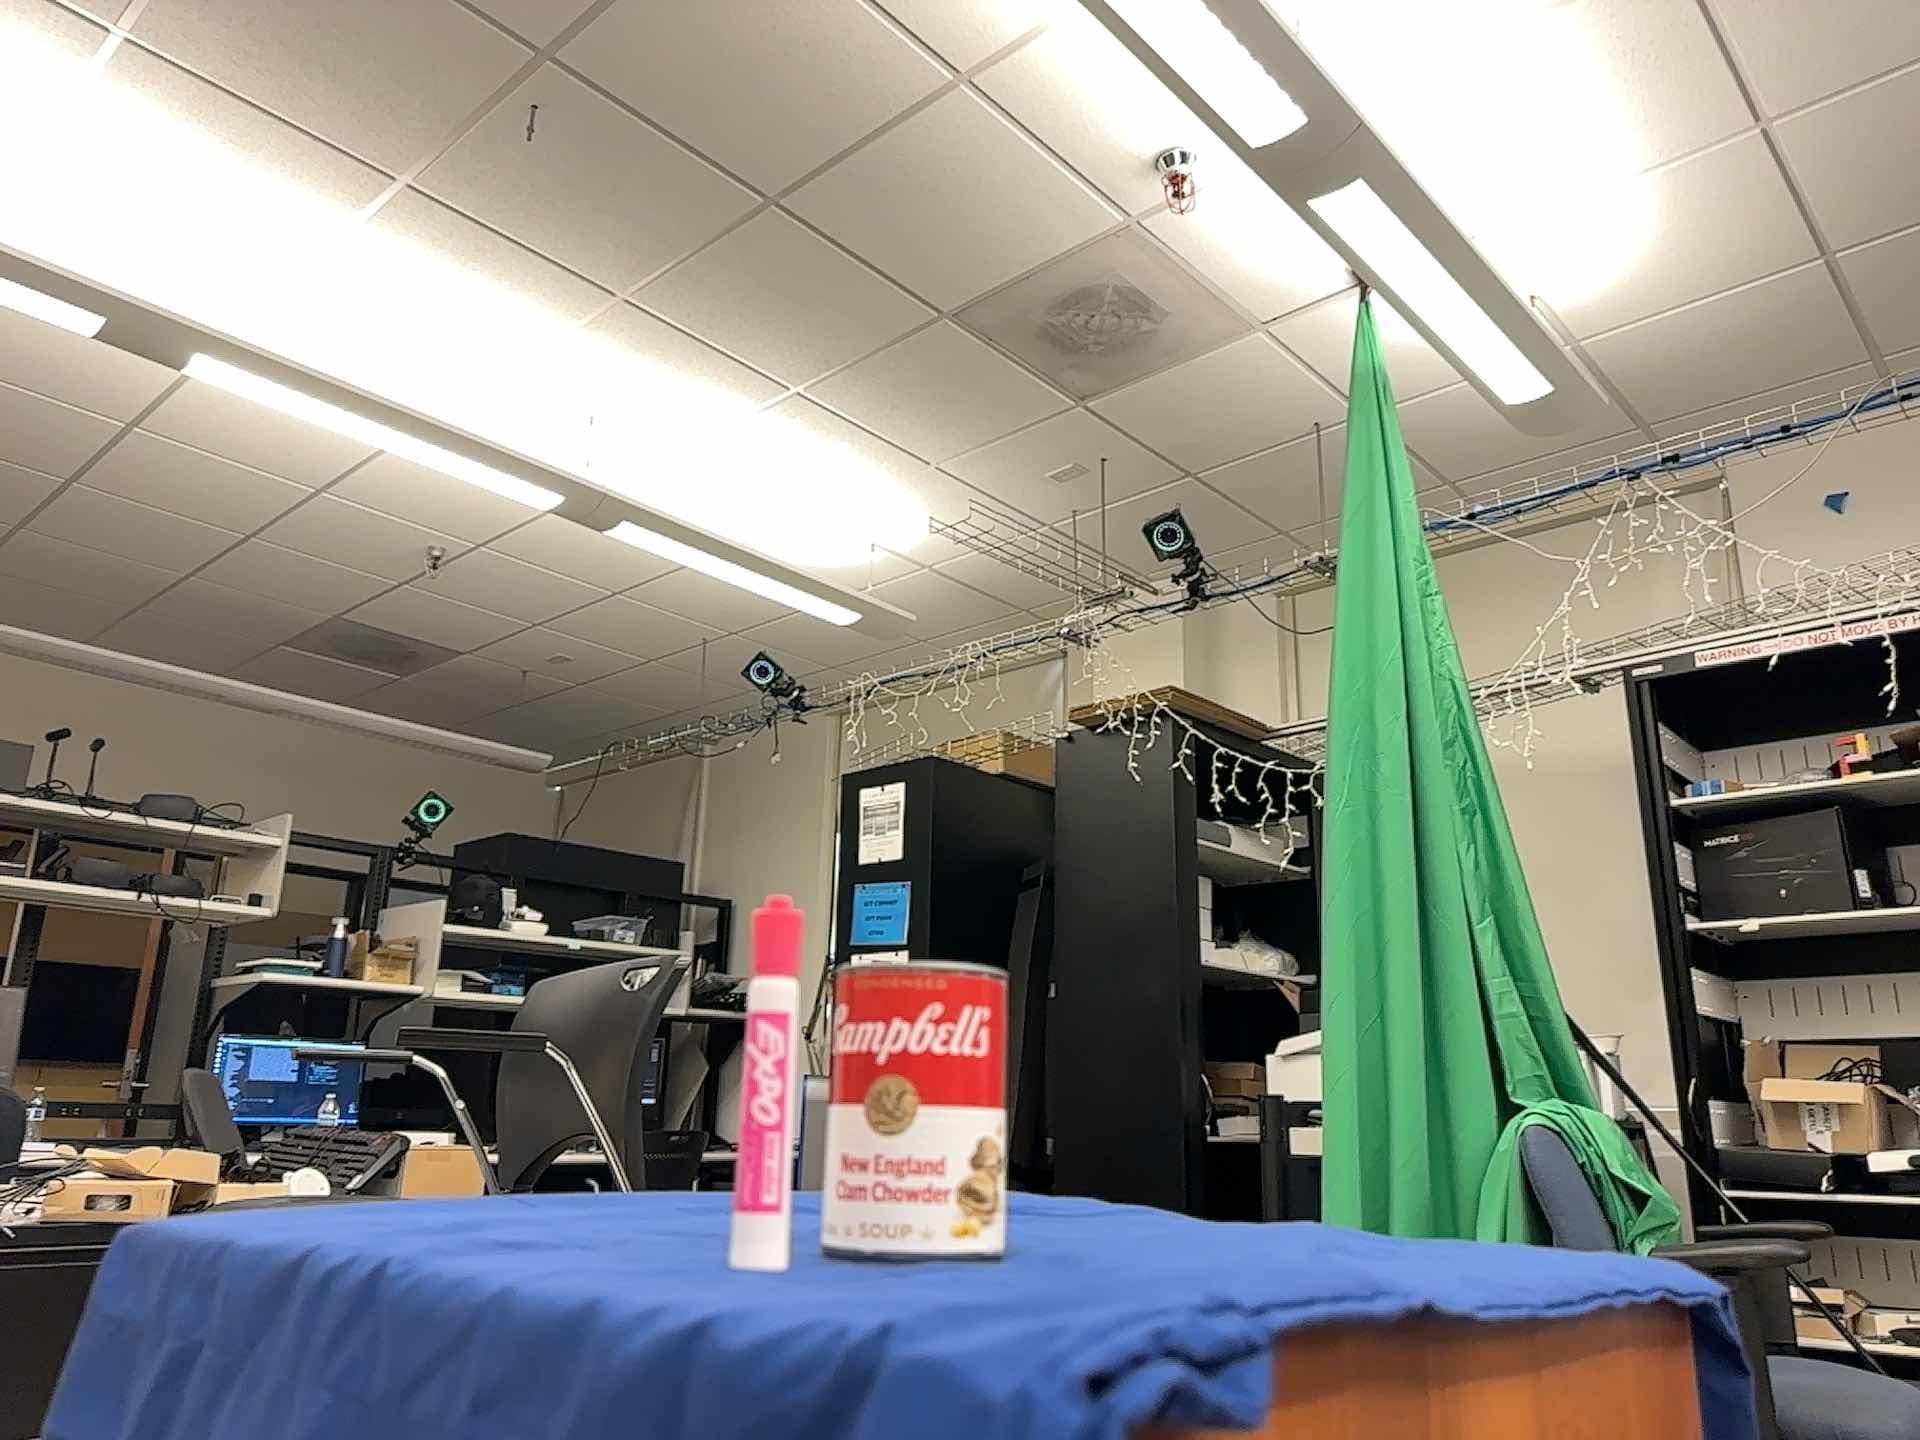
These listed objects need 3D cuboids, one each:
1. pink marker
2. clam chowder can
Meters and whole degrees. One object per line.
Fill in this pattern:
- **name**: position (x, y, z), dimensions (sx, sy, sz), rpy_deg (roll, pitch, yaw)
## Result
- **pink marker**: position (-0.065, 0.120, 0.459), dimensions (0.020, 0.121, 0.020), rpy_deg (1, -14, 0)
- **clam chowder can**: position (-0.016, 0.143, 0.504), dimensions (0.068, 0.102, 0.068), rpy_deg (1, -14, 0)
